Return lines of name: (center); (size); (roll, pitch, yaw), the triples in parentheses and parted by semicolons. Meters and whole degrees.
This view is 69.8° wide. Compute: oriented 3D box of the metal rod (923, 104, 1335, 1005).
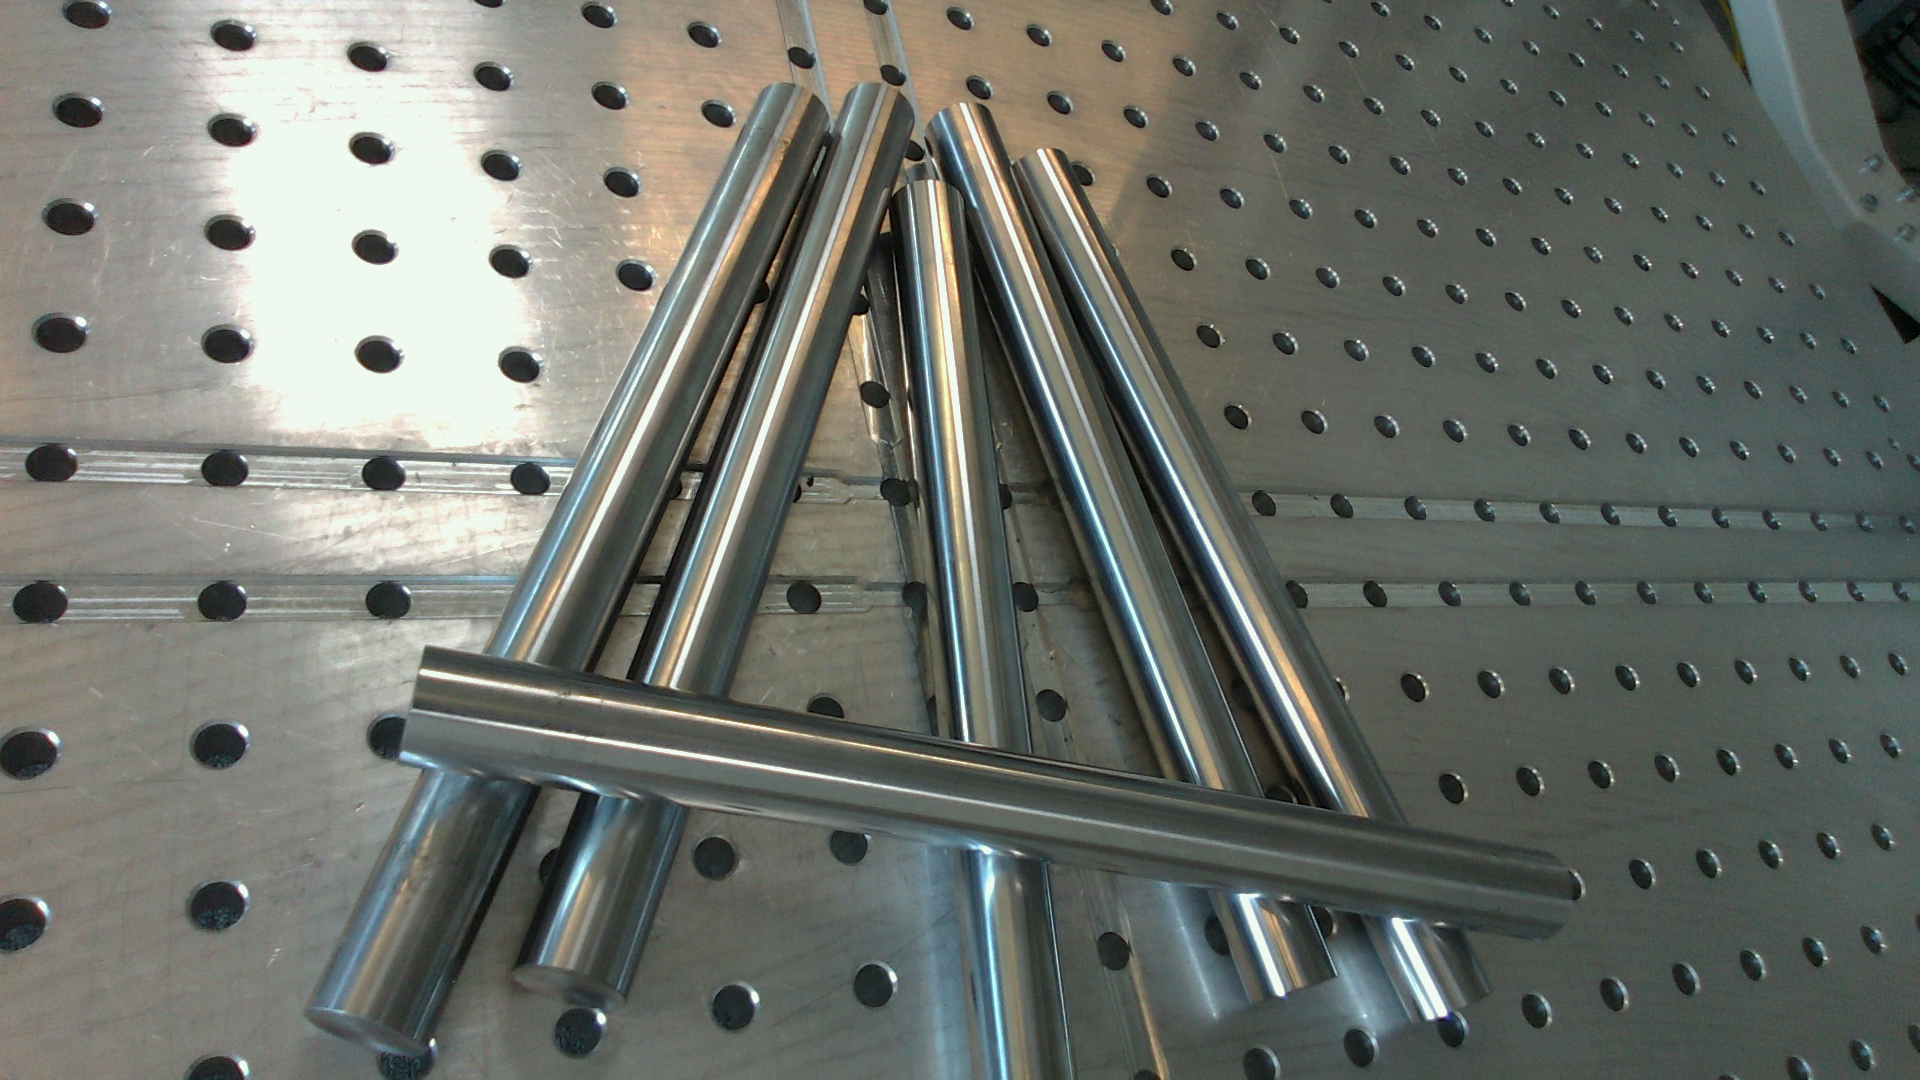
metal rod: (0.043, -0.012, 0.423); (0.025, 0.025, 0.300); (-5, 64, -30)

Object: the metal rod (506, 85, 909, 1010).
metal rod: (-0.056, -0.024, 0.378); (0.025, 0.025, 0.300); (23, 53, -14)

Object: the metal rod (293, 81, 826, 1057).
metal rod: (-0.087, -0.021, 0.357); (0.025, 0.025, 0.300); (25, 53, -13)

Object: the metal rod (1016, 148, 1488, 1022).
metal rod: (0.081, 0.000, 0.436); (0.025, 0.025, 0.300); (-10, 67, -32)

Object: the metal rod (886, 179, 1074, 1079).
metal rod: (0.002, 0.021, 0.381); (0.025, 0.025, 0.300); (8, 58, -24)
